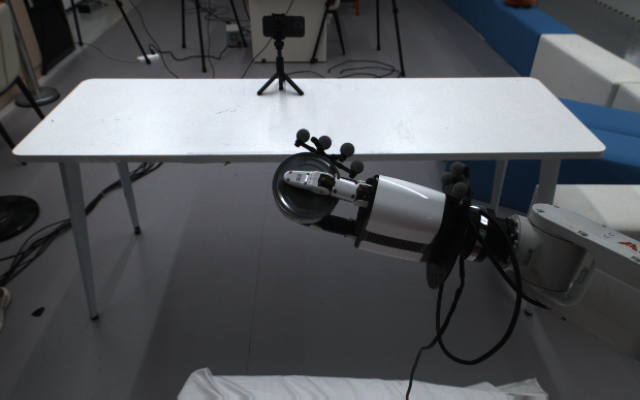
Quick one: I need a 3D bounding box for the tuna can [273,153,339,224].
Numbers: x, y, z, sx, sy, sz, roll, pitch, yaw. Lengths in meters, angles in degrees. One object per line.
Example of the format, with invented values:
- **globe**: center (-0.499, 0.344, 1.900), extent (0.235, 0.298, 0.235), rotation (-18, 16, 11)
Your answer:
- **tuna can**: center (-0.015, -0.015, 0.605), extent (0.085, 0.034, 0.085), rotation (1, 75, -4)
